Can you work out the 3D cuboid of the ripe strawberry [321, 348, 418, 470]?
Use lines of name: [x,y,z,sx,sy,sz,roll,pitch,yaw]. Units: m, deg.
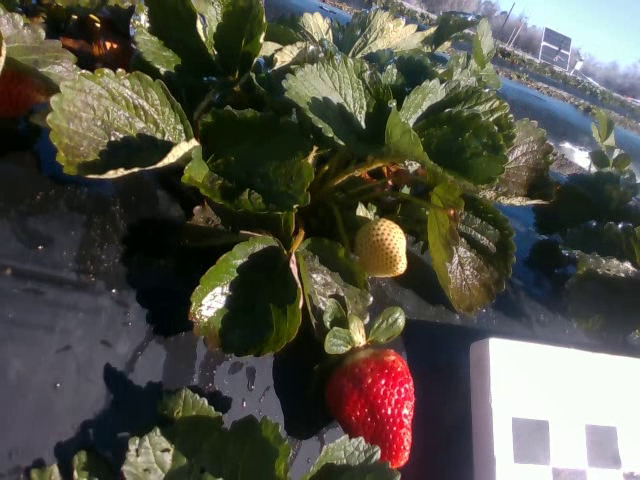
ripe strawberry: [0.030,0.086,0.316,0.048,0.069,0.040,-8,-22,-23]
